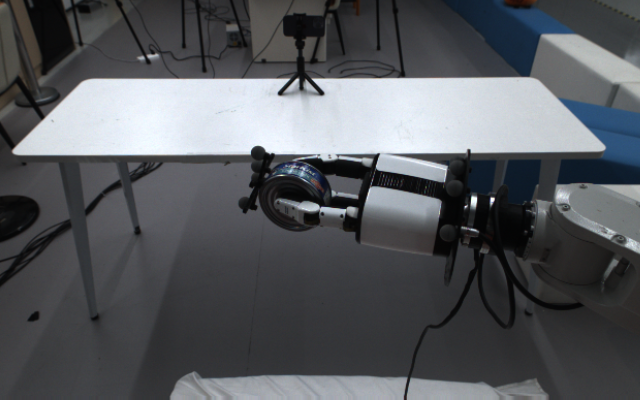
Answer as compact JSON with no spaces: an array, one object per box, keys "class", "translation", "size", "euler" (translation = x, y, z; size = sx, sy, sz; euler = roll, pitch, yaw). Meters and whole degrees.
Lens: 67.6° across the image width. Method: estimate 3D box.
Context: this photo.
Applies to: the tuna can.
[{"class":"tuna can","translation":[-0.028,0.000,0.592],"size":[0.085,0.085,0.034],"euler":[9,35,10]}]
